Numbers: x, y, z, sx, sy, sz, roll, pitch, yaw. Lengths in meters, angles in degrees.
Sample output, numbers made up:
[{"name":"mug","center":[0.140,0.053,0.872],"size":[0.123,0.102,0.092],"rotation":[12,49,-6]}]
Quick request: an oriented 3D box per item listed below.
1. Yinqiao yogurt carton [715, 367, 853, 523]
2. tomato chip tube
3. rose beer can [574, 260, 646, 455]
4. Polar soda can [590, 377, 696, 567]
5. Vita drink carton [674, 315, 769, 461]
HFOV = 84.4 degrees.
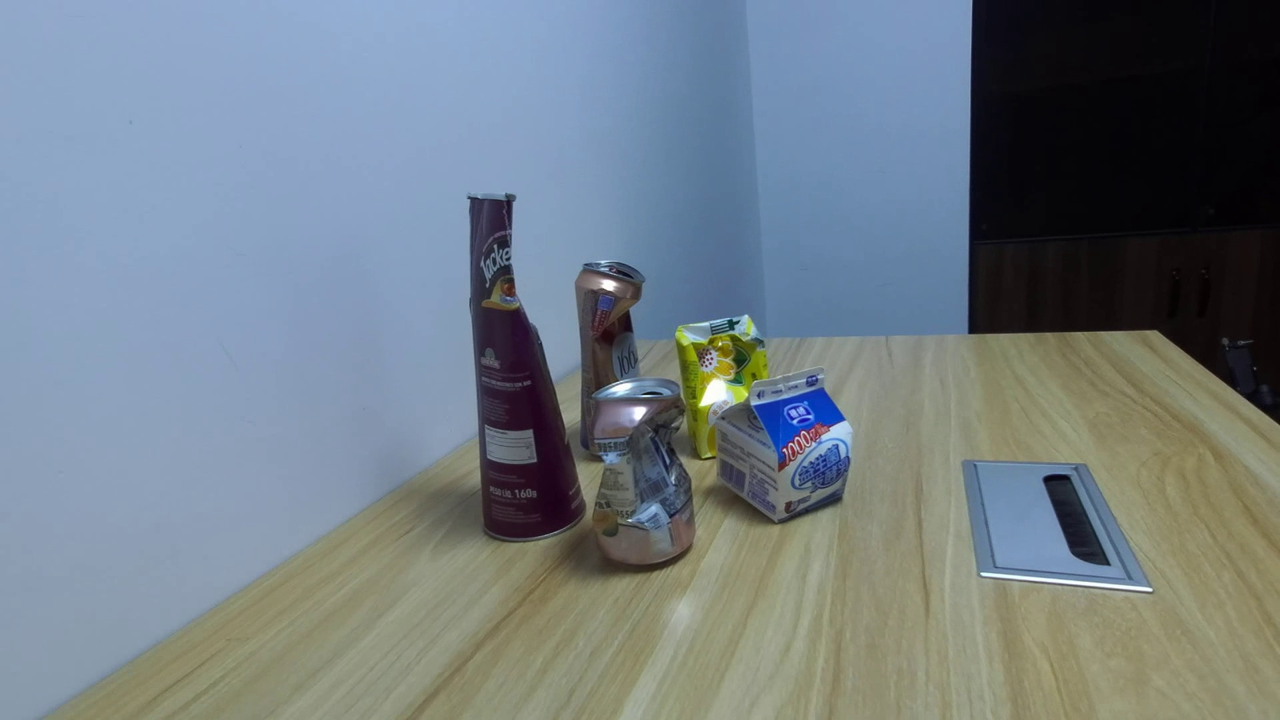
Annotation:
[{"name":"Yinqiao yogurt carton","center":[0.104,0.052,0.495],"size":[0.075,0.097,0.080],"rotation":[-14,24,-28]},{"name":"tomato chip tube","center":[-0.088,0.004,0.490],"size":[0.077,0.235,0.090],"rotation":[1,14,21]},{"name":"rose beer can","center":[-0.024,0.000,0.614],"size":[0.070,0.168,0.069],"rotation":[-11,17,-29]},{"name":"Polar soda can","center":[0.002,0.069,0.448],"size":[0.070,0.114,0.074],"rotation":[-5,17,-19]},{"name":"Vita drink carton","center":[0.072,0.022,0.600],"size":[0.071,0.110,0.046],"rotation":[-9,17,-12]}]
